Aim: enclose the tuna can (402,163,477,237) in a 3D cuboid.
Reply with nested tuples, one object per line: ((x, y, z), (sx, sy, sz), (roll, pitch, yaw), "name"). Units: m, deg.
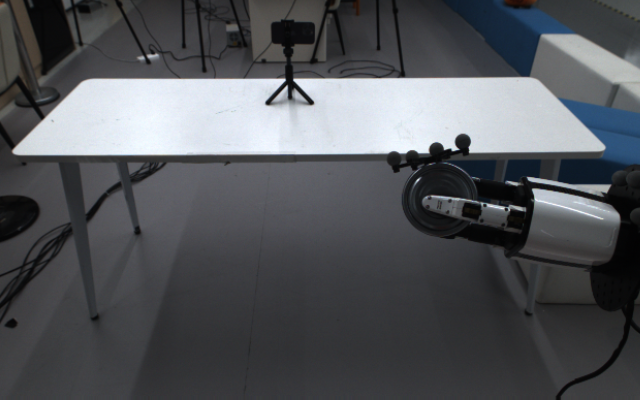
((0.140, -0.003, 0.558), (0.085, 0.085, 0.034), (12, 3, 14), "tuna can")
